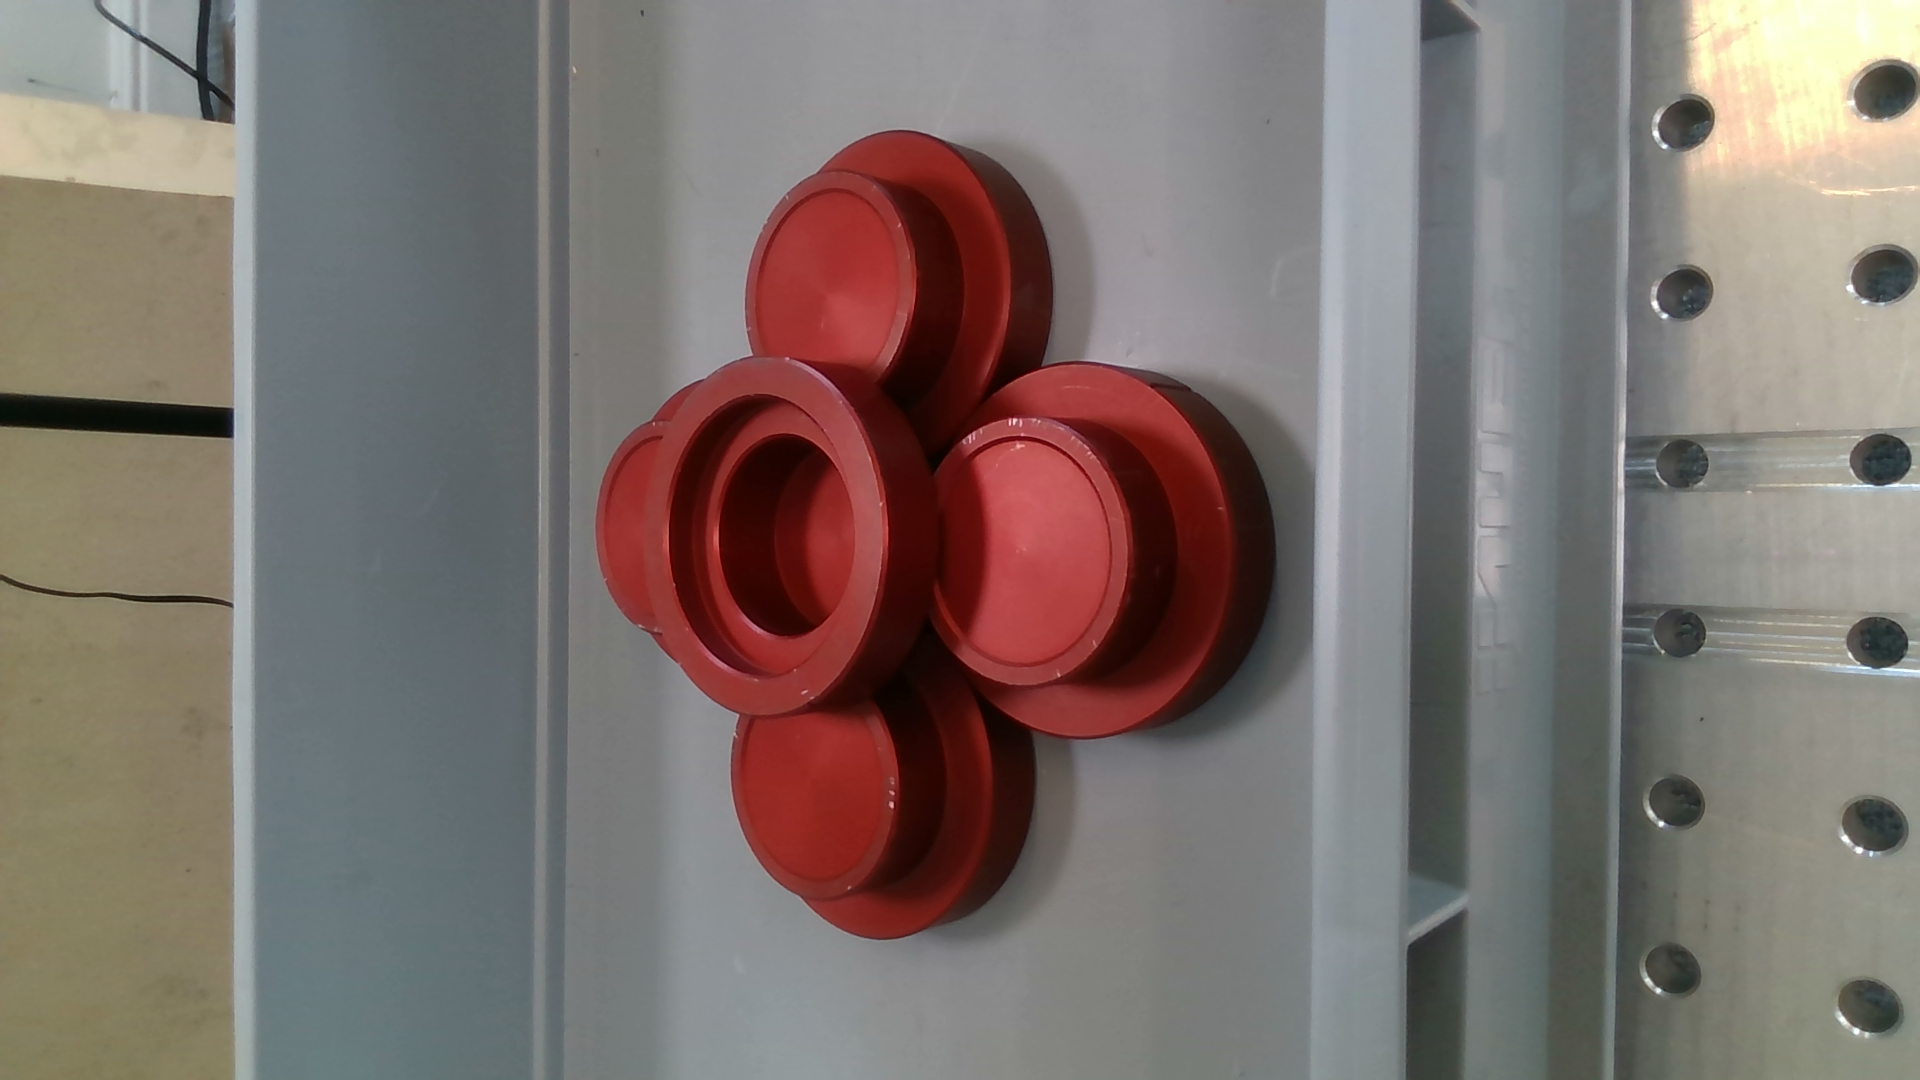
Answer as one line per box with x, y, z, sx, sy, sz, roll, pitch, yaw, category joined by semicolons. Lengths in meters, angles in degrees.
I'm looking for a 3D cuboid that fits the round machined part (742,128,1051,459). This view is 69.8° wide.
-0.025;-0.069;0.398;0.098;0.042;0.098;0;91;40;round machined part

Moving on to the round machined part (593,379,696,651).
-0.081;-0.004;0.446;0.098;0.042;0.098;1;92;38;round machined part

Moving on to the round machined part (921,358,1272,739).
0.026;0.002;0.354;0.098;0.042;0.098;0;91;40;round machined part

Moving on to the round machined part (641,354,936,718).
-0.043;-0.001;0.386;0.098;0.042;0.098;0;91;40;round machined part

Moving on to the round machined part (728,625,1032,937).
-0.030;0.067;0.403;0.098;0.042;0.098;0;91;40;round machined part
